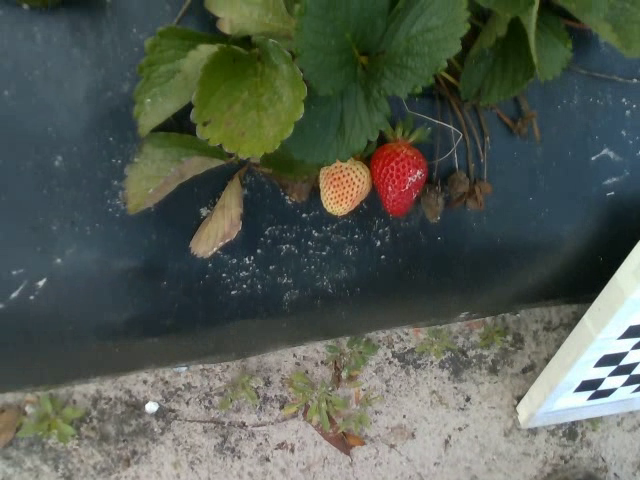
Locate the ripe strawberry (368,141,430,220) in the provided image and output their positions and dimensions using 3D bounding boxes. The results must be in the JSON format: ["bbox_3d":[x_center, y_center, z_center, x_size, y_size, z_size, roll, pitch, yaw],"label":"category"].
[{"bbox_3d":[0.040,-0.030,0.308,0.034,0.042,0.033,17,-17,-31],"label":"ripe strawberry"}]
